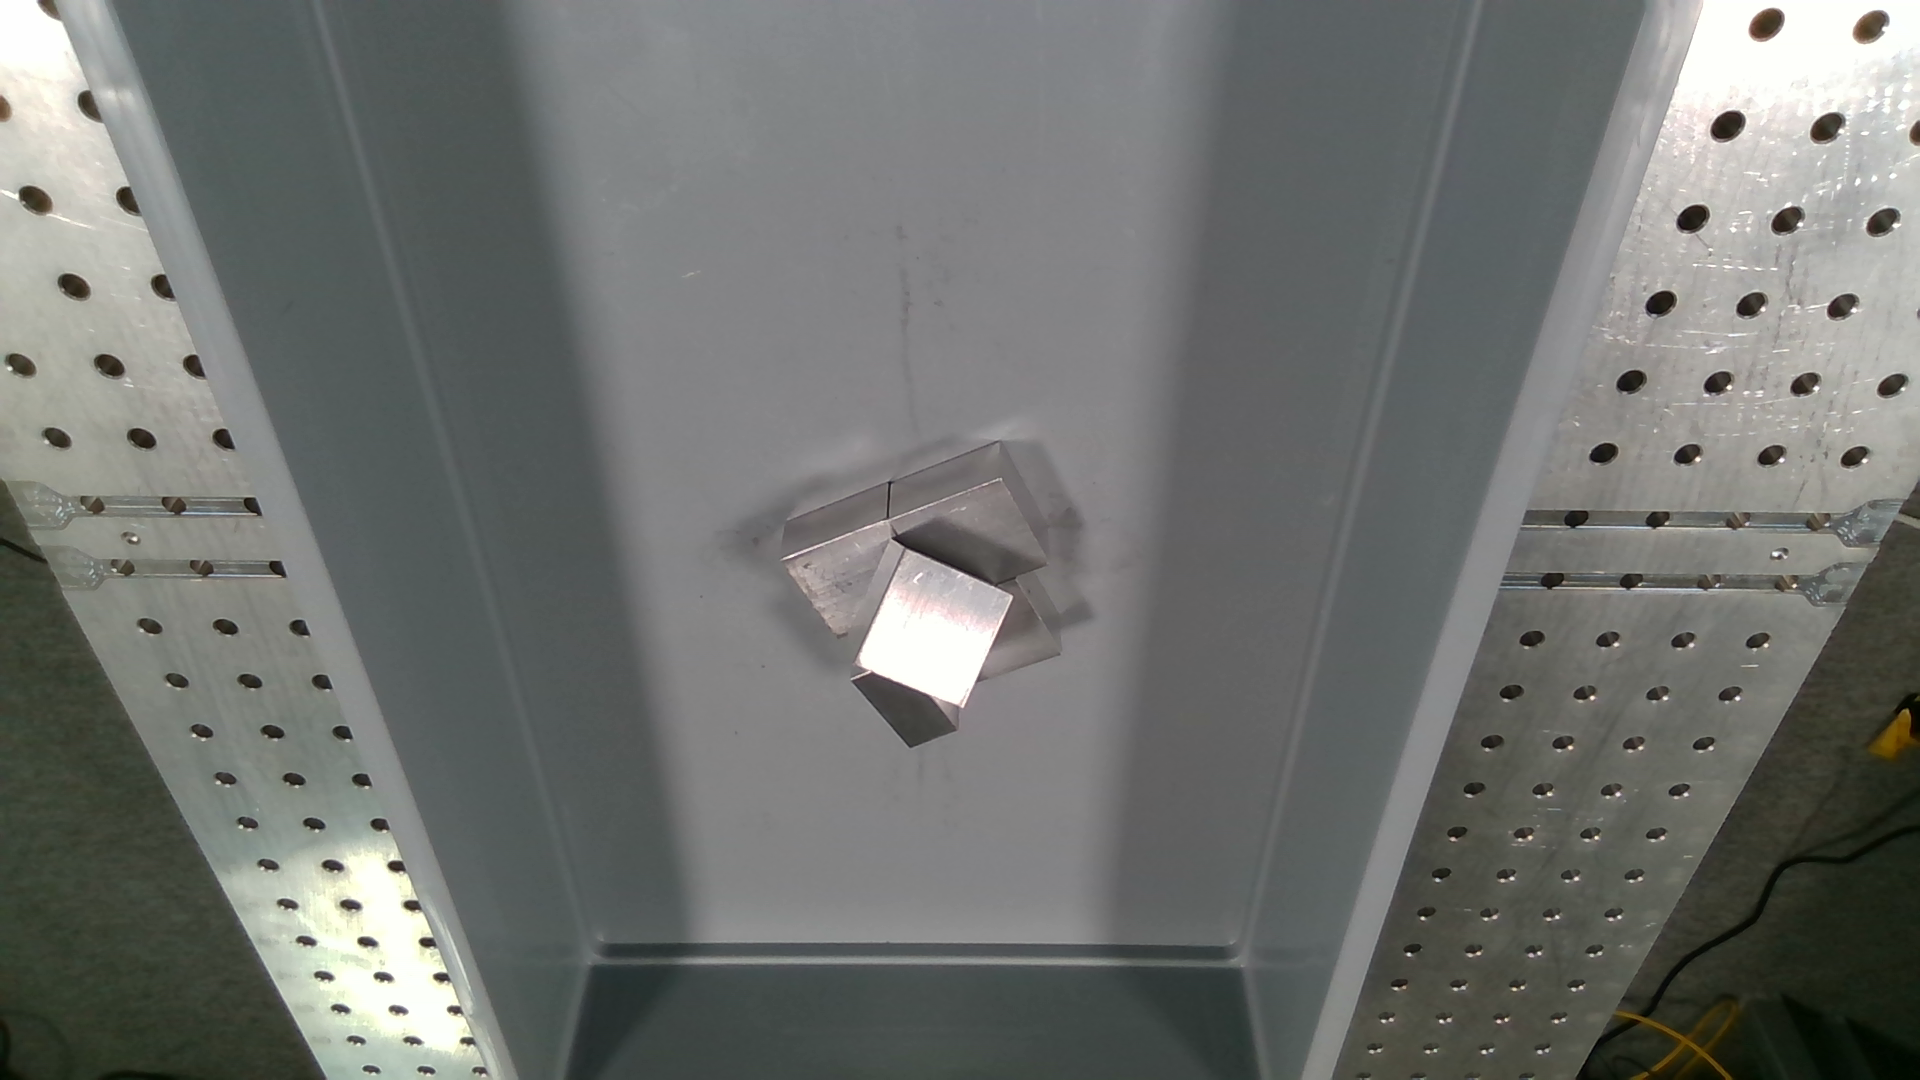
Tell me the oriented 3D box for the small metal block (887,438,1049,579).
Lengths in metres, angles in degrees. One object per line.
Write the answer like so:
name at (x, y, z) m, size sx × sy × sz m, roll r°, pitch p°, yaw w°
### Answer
small metal block at (0.004, -0.008, 0.571) m, size 0.050 × 0.025 × 0.050 m, roll -20°, pitch 127°, yaw 16°

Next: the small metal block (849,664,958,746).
small metal block at (-0.024, 0.053, 0.606) m, size 0.025 × 0.050 × 0.050 m, roll -23°, pitch 127°, yaw 18°

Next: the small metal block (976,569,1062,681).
small metal block at (0.011, 0.032, 0.605) m, size 0.050 × 0.025 × 0.050 m, roll -20°, pitch 127°, yaw 16°

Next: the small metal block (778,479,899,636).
small metal block at (-0.042, 0.008, 0.585) m, size 0.050 × 0.025 × 0.050 m, roll -20°, pitch 127°, yaw 16°

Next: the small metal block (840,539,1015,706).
small metal block at (-0.013, 0.033, 0.556) m, size 0.050 × 0.025 × 0.050 m, roll 24°, pitch 92°, yaw -19°
